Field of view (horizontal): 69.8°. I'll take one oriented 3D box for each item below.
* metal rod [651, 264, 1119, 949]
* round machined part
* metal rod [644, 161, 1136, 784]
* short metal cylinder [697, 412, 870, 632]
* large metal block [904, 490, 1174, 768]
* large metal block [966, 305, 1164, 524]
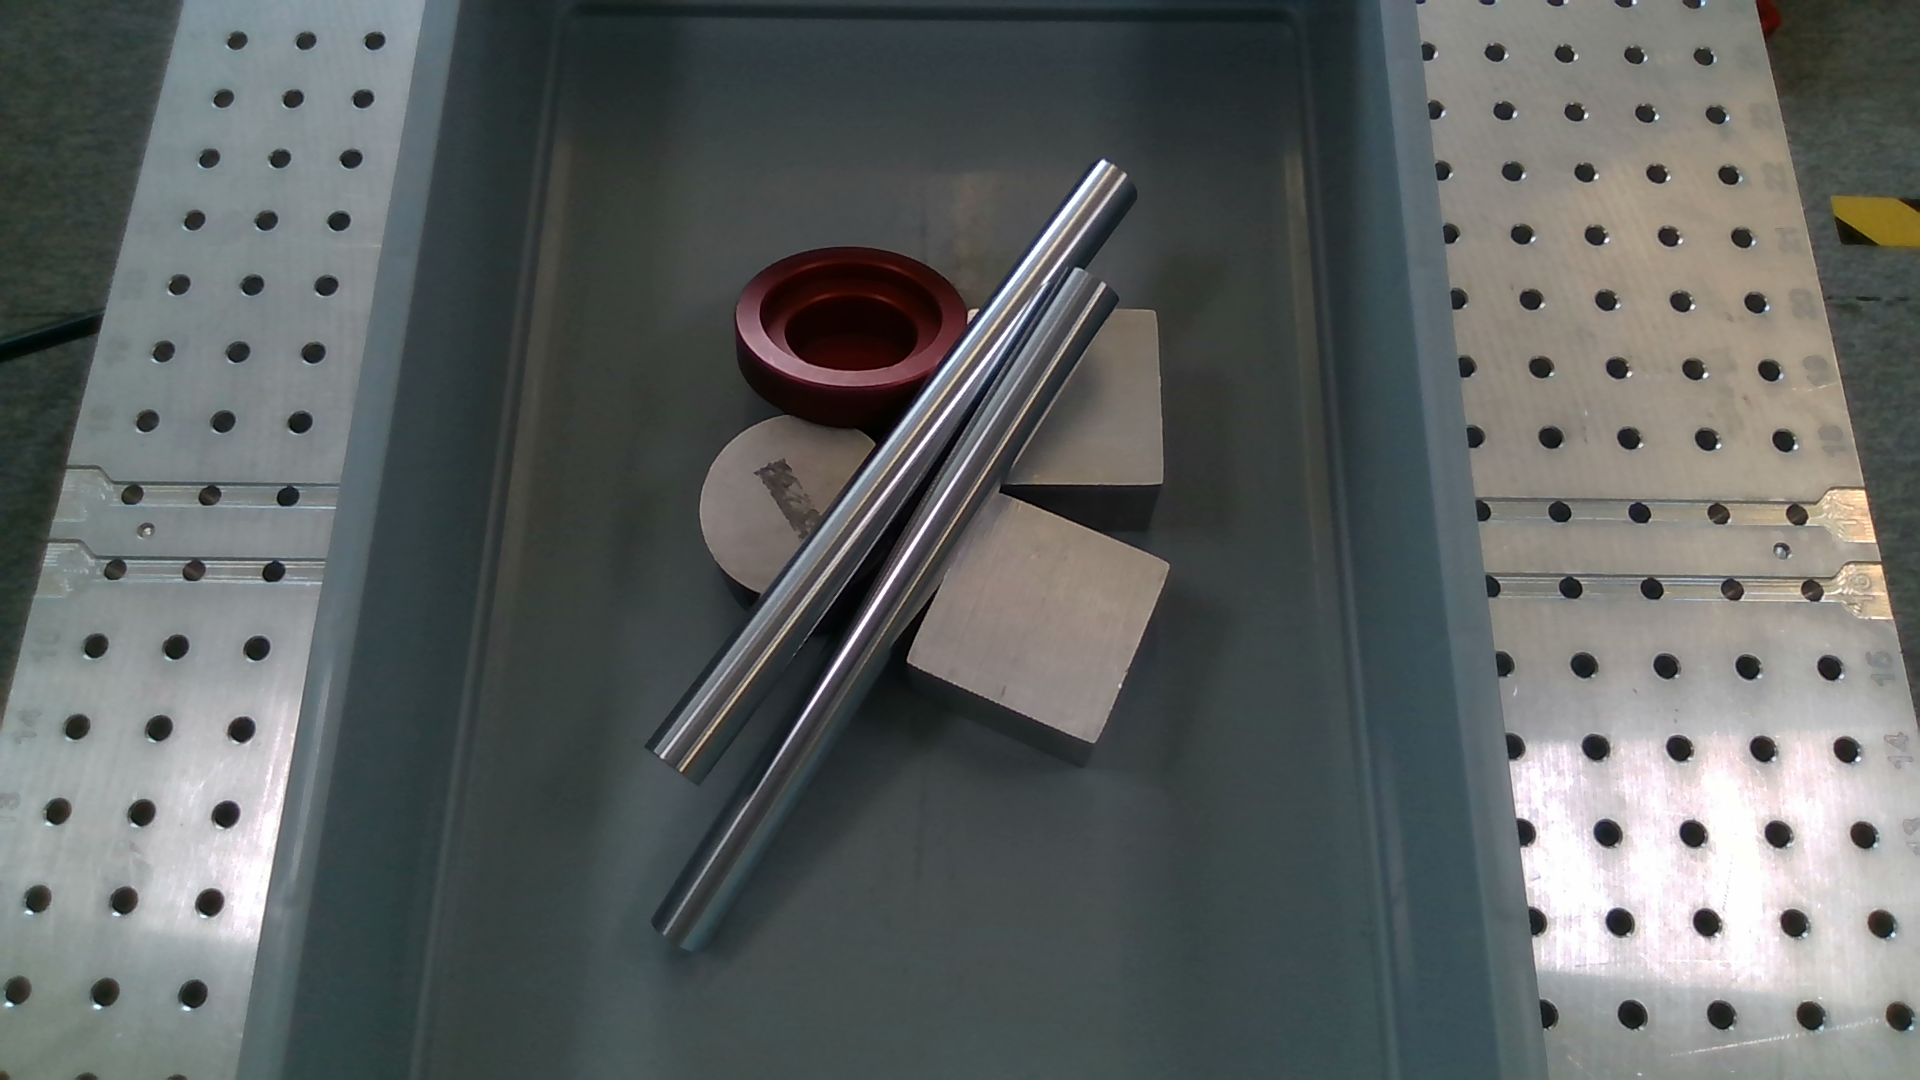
[{"bbox_3d":[-0.028,0.025,0.538,0.025,0.025,0.300,32,88,11],"label":"metal rod"},{"bbox_3d":[-0.047,-0.082,0.595,0.098,0.042,0.098,2,47,-2],"label":"round machined part"},{"bbox_3d":[-0.021,-0.035,0.545,0.025,0.025,0.300,33,75,11],"label":"metal rod"},{"bbox_3d":[-0.065,-0.007,0.575,0.080,0.050,0.080,0,70,0],"label":"short metal cylinder"},{"bbox_3d":[0.031,0.036,0.560,0.080,0.050,0.080,23,72,8],"label":"large metal block"},{"bbox_3d":[0.042,-0.052,0.589,0.080,0.050,0.080,1,70,0],"label":"large metal block"}]
